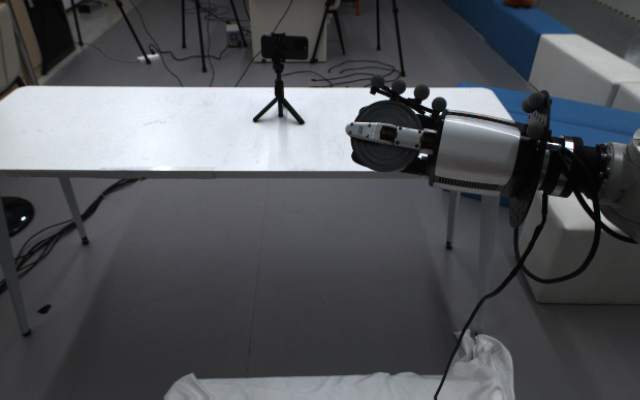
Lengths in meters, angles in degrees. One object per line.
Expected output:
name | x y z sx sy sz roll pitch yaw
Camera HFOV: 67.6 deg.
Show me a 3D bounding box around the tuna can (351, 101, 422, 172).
tuna can | 0.084 -0.078 0.589 0.085 0.085 0.034 13 3 15
